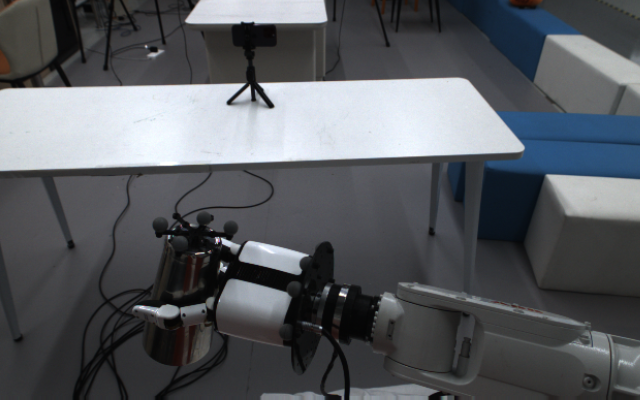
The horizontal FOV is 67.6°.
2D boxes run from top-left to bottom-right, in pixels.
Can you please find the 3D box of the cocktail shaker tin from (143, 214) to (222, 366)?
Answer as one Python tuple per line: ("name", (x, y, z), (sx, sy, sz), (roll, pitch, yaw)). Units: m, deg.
("cocktail shaker tin", (-0.169, 0.116, 0.615), (0.093, 0.170, 0.093), (12, 29, -7))
